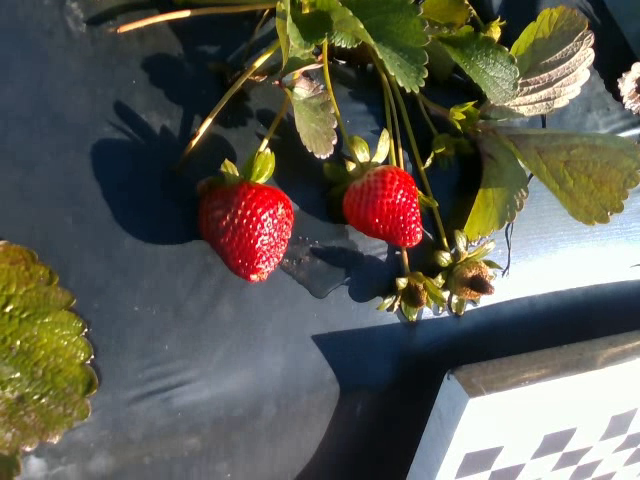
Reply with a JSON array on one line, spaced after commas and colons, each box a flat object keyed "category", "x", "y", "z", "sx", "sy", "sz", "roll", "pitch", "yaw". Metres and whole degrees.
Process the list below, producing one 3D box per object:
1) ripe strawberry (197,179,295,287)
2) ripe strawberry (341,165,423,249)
[{"category": "ripe strawberry", "x": -0.033, "y": -0.002, "z": 0.253, "sx": 0.050, "sy": 0.050, "sz": 0.044, "roll": 9, "pitch": -35, "yaw": -31}, {"category": "ripe strawberry", "x": 0.034, "y": -0.014, "z": 0.279, "sx": 0.042, "sy": 0.049, "sz": 0.039, "roll": -38, "pitch": -21, "yaw": 11}]
